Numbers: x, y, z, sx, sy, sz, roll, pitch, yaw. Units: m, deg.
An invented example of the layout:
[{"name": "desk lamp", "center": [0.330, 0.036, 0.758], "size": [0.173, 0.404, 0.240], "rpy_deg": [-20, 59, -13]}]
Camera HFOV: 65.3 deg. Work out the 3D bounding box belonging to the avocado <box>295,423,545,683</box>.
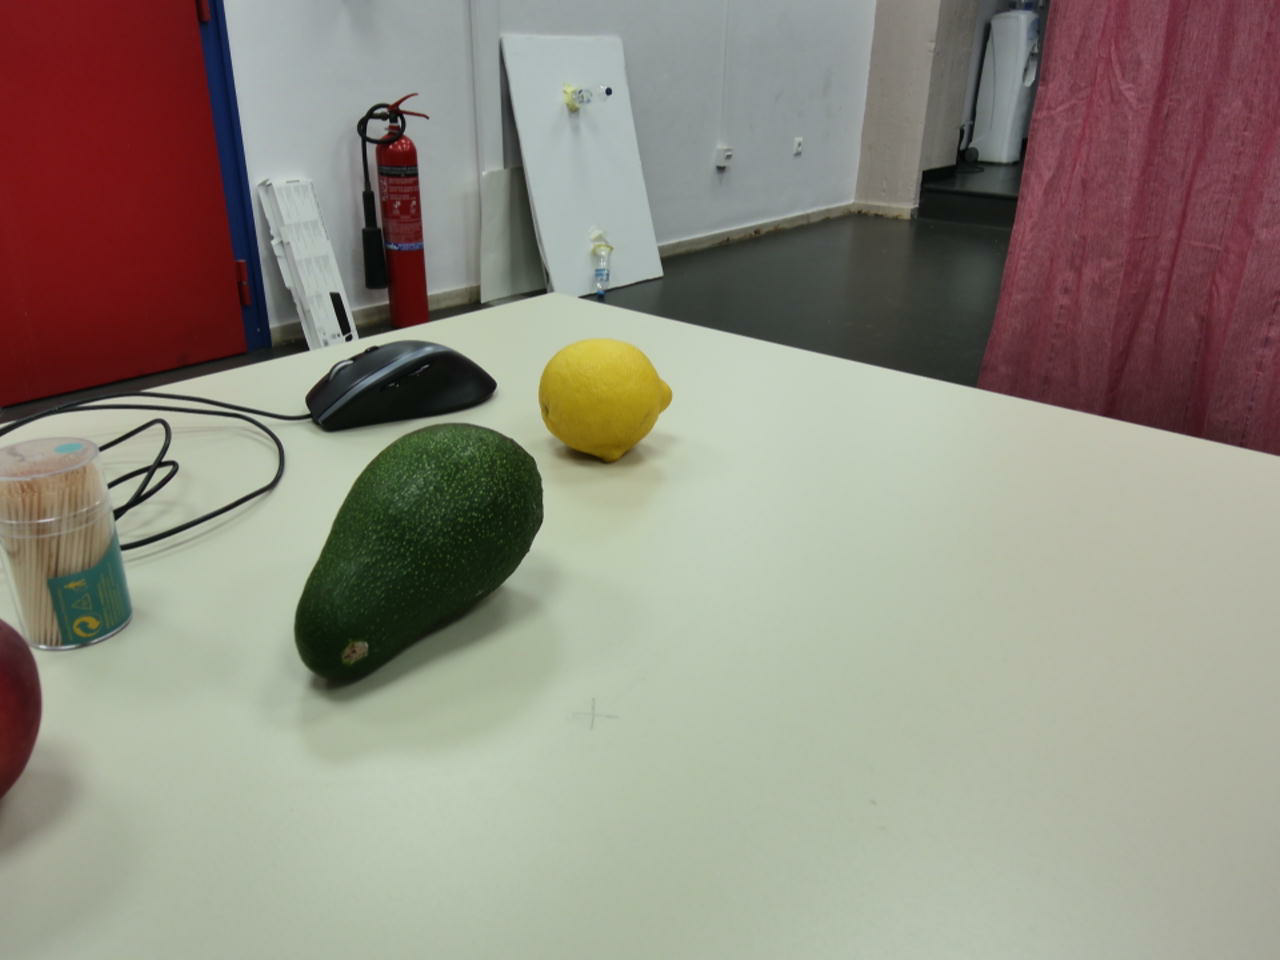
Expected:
[{"name": "avocado", "center": [-0.091, 0.020, 0.397], "size": [0.074, 0.076, 0.123], "rpy_deg": [22, 30, 40]}]
